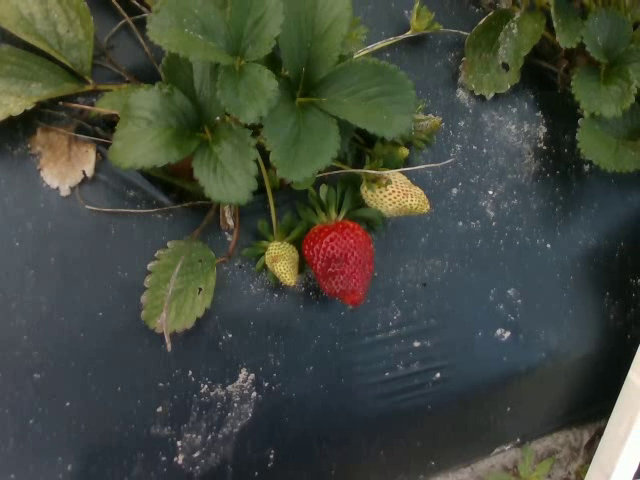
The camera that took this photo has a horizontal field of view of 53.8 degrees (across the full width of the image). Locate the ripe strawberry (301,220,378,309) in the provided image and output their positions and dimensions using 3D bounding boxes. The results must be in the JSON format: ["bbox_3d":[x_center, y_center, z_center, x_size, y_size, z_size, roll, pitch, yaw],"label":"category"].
[{"bbox_3d":[0.014,0.017,0.360,0.046,0.059,0.046,-11,-35,-10],"label":"ripe strawberry"}]
